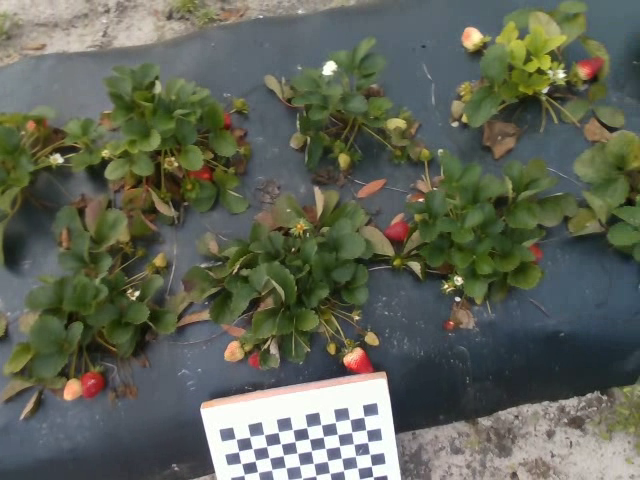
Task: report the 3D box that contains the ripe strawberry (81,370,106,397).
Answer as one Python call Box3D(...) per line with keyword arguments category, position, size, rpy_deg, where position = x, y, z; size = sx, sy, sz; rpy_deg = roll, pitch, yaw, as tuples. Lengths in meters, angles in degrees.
Box3D(category="ripe strawberry", position=(-0.329, 0.208, 0.806), size=(0.034, 0.042, 0.033), rpy_deg=(21, -45, -8))
